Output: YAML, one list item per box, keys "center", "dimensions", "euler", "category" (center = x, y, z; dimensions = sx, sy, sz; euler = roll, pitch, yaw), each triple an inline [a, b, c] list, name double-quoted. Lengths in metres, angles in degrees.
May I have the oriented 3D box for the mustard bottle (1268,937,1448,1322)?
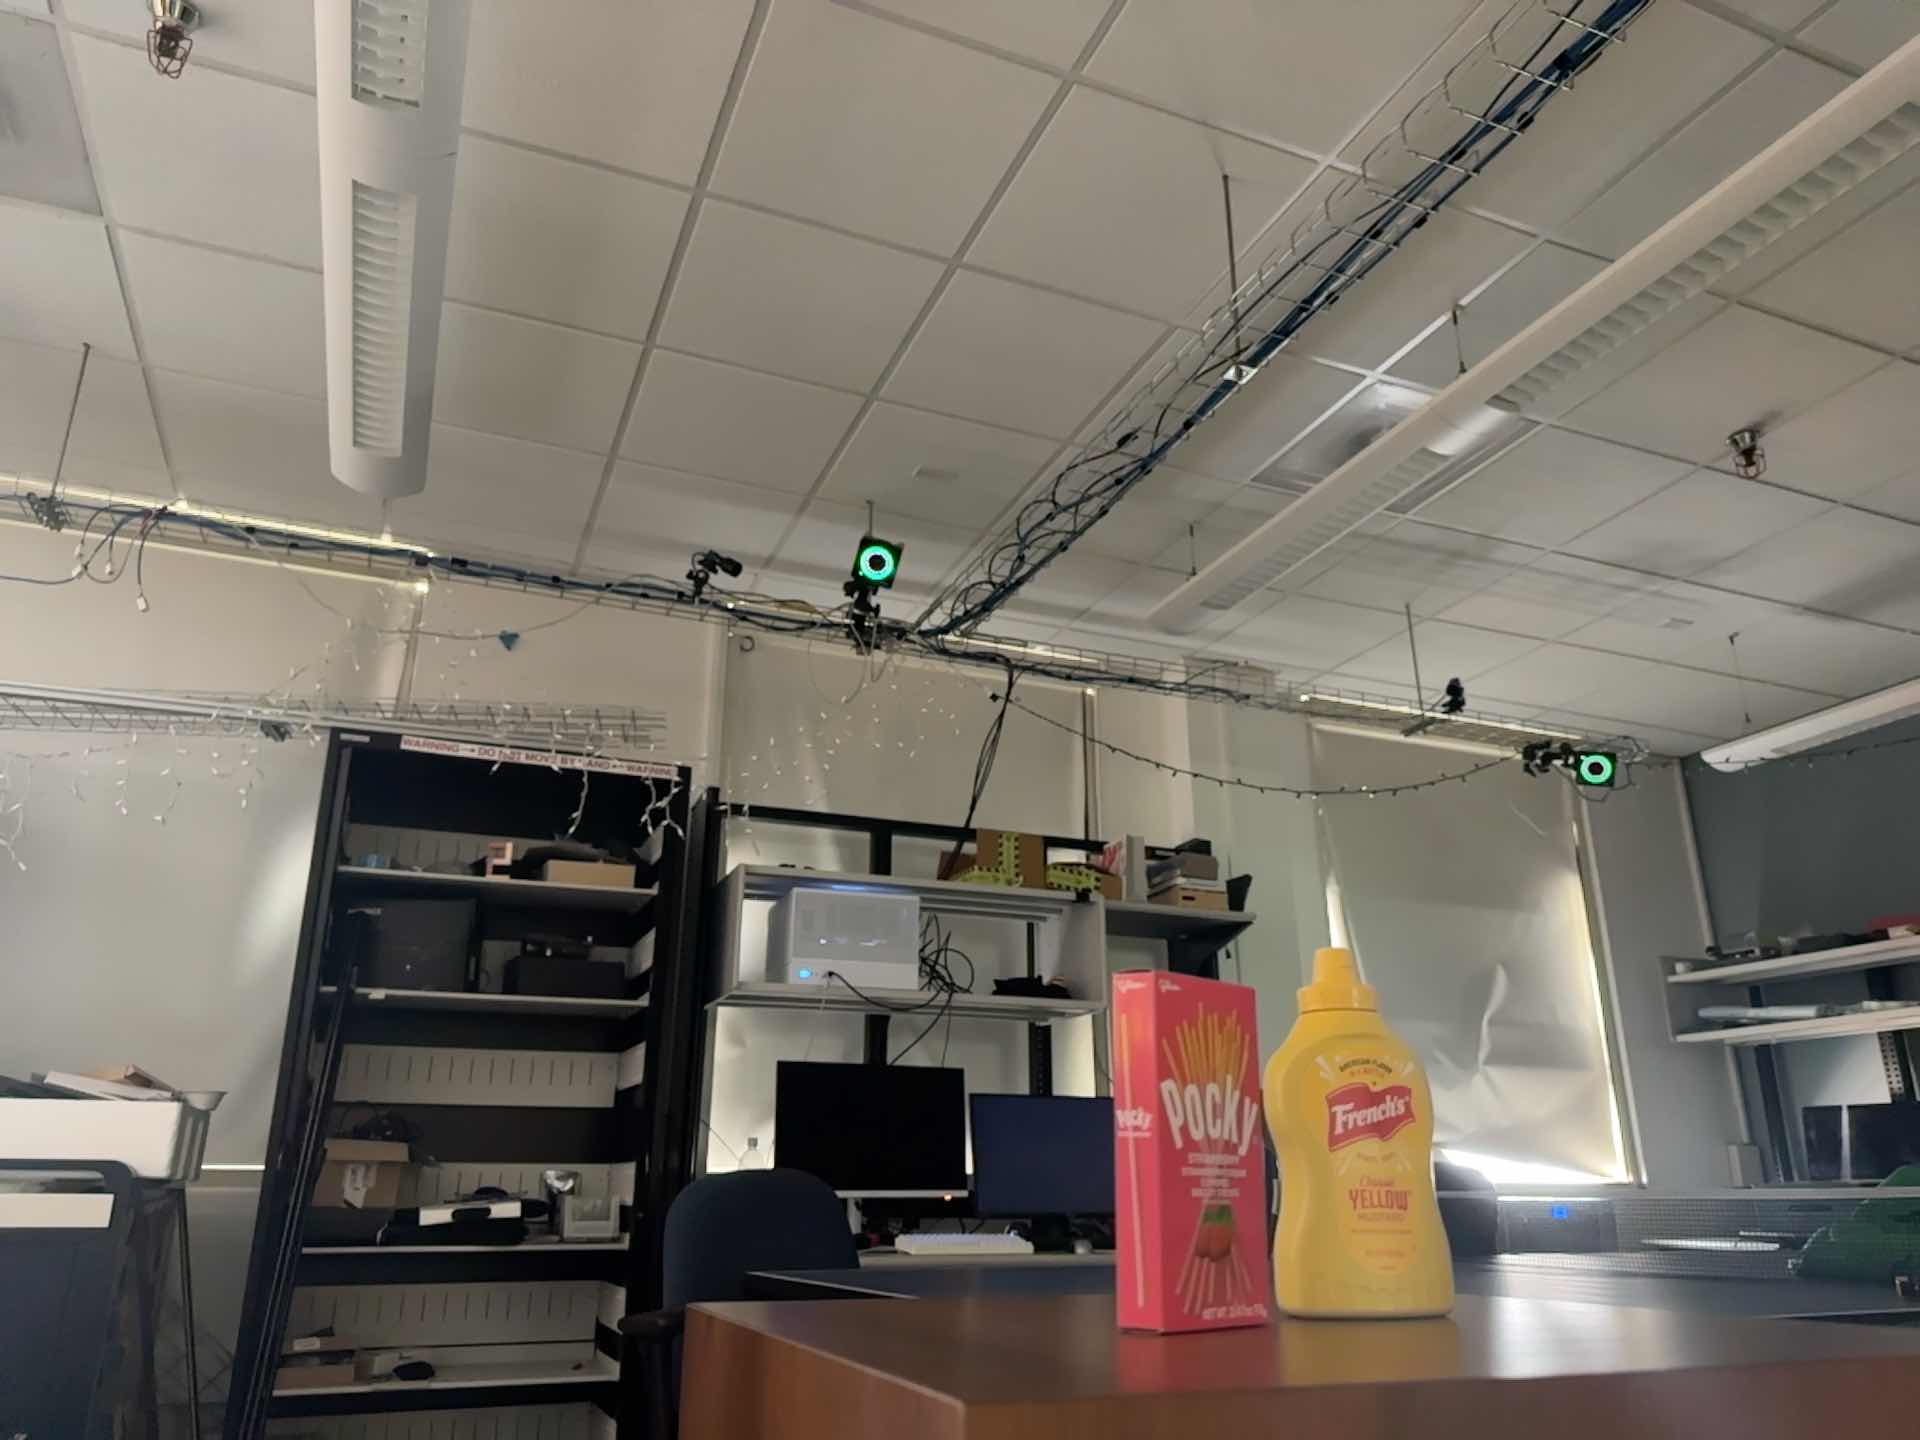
- center: [0.198, 0.204, 0.689]
  dimensions: [0.092, 0.184, 0.054]
  euler: [5, -15, -15]
  category: "mustard bottle"

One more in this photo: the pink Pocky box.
- center: [0.104, 0.194, 0.617]
  dimensions: [0.084, 0.154, 0.029]
  euler: [15, -22, -34]
  category: "pink Pocky box"
